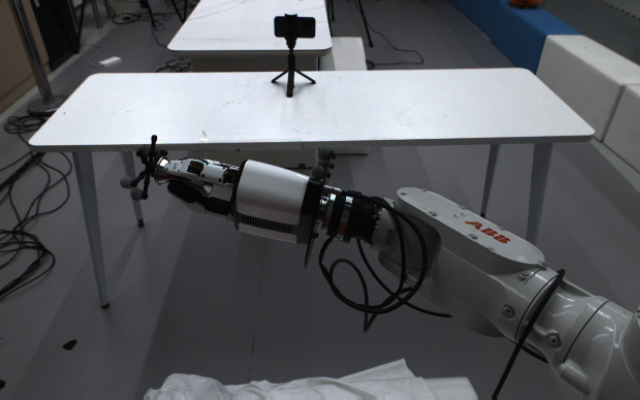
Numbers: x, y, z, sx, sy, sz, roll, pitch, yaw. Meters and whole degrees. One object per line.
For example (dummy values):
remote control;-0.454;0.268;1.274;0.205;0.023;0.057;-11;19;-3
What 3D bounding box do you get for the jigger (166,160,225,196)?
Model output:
jigger;-0.174;-0.035;0.648;0.071;0.043;0.043;14;36;4
